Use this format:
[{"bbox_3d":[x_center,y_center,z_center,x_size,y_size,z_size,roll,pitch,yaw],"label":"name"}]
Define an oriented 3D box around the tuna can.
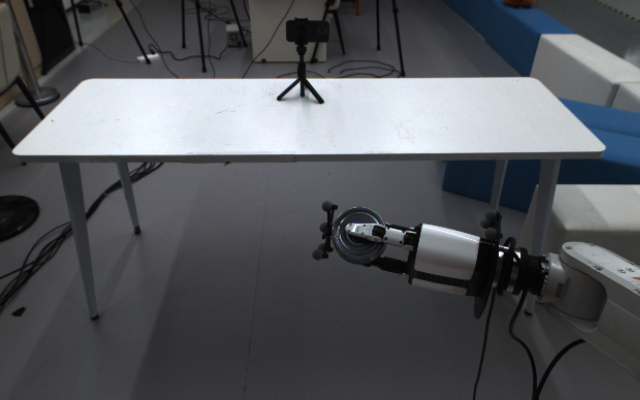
[{"bbox_3d":[0.064,0.057,0.743,0.085,0.034,0.085,-2,69,6],"label":"tuna can"}]
